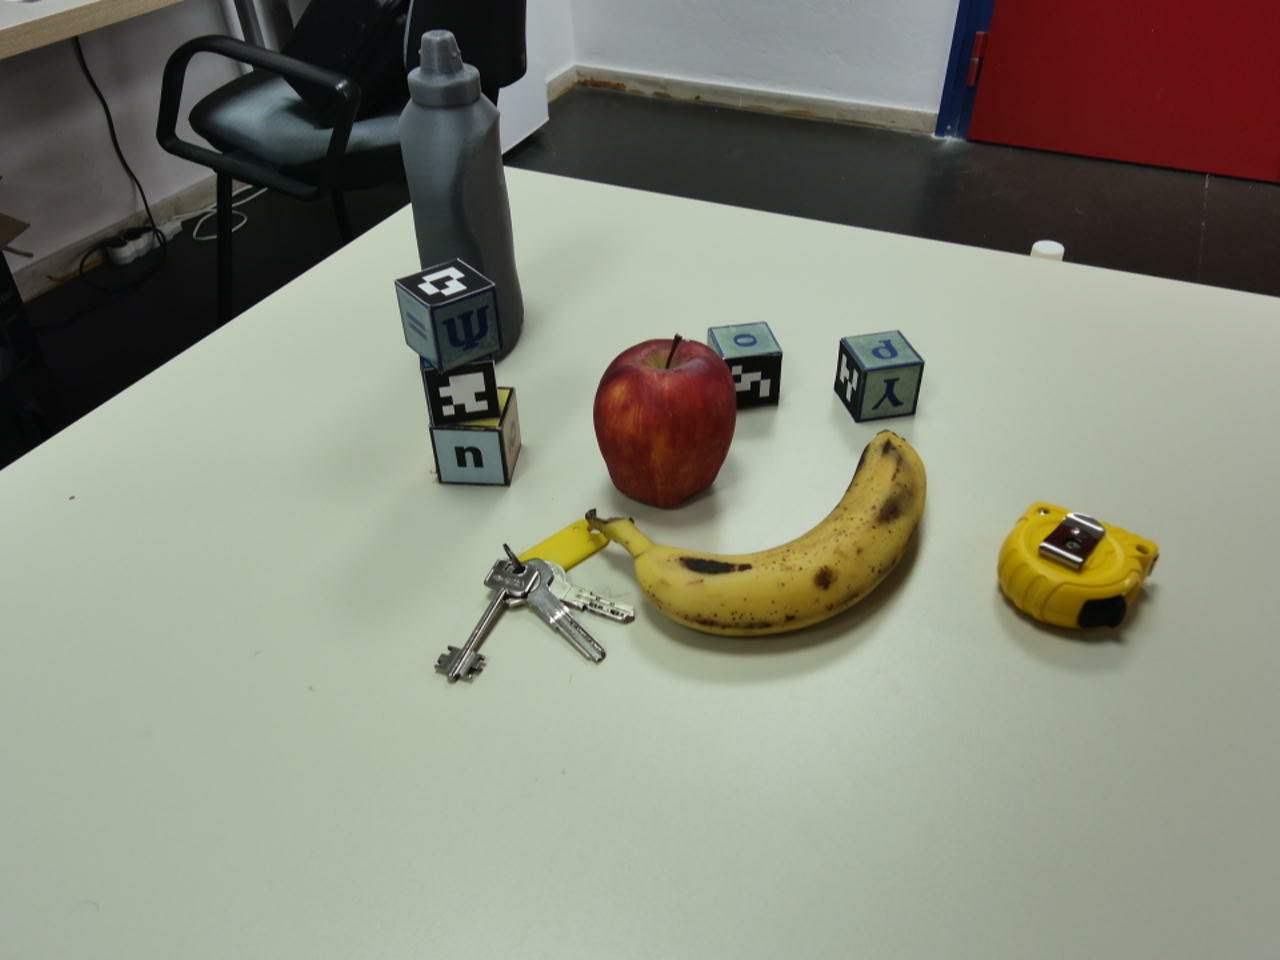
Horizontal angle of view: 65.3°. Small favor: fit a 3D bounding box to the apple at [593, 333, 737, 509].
[{"bbox_3d":[0.014,-0.037,0.524,0.083,0.090,0.083,0,38,0],"label":"apple"}]
